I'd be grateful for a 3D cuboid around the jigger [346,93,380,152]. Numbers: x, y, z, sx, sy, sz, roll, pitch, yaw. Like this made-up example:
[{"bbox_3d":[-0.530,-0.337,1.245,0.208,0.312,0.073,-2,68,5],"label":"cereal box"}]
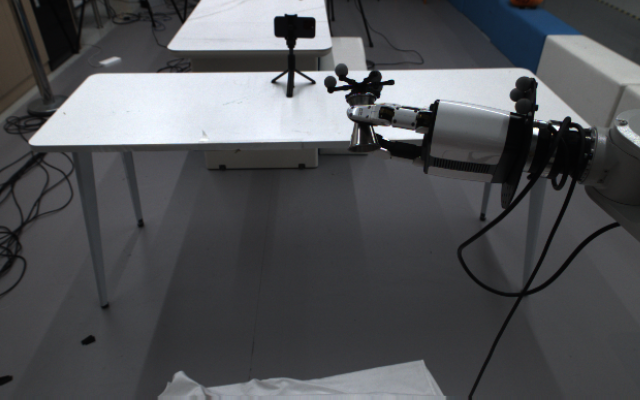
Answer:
[{"bbox_3d":[0.055,-0.100,0.631,0.043,0.071,0.043,-2,-7,0],"label":"jigger"}]
